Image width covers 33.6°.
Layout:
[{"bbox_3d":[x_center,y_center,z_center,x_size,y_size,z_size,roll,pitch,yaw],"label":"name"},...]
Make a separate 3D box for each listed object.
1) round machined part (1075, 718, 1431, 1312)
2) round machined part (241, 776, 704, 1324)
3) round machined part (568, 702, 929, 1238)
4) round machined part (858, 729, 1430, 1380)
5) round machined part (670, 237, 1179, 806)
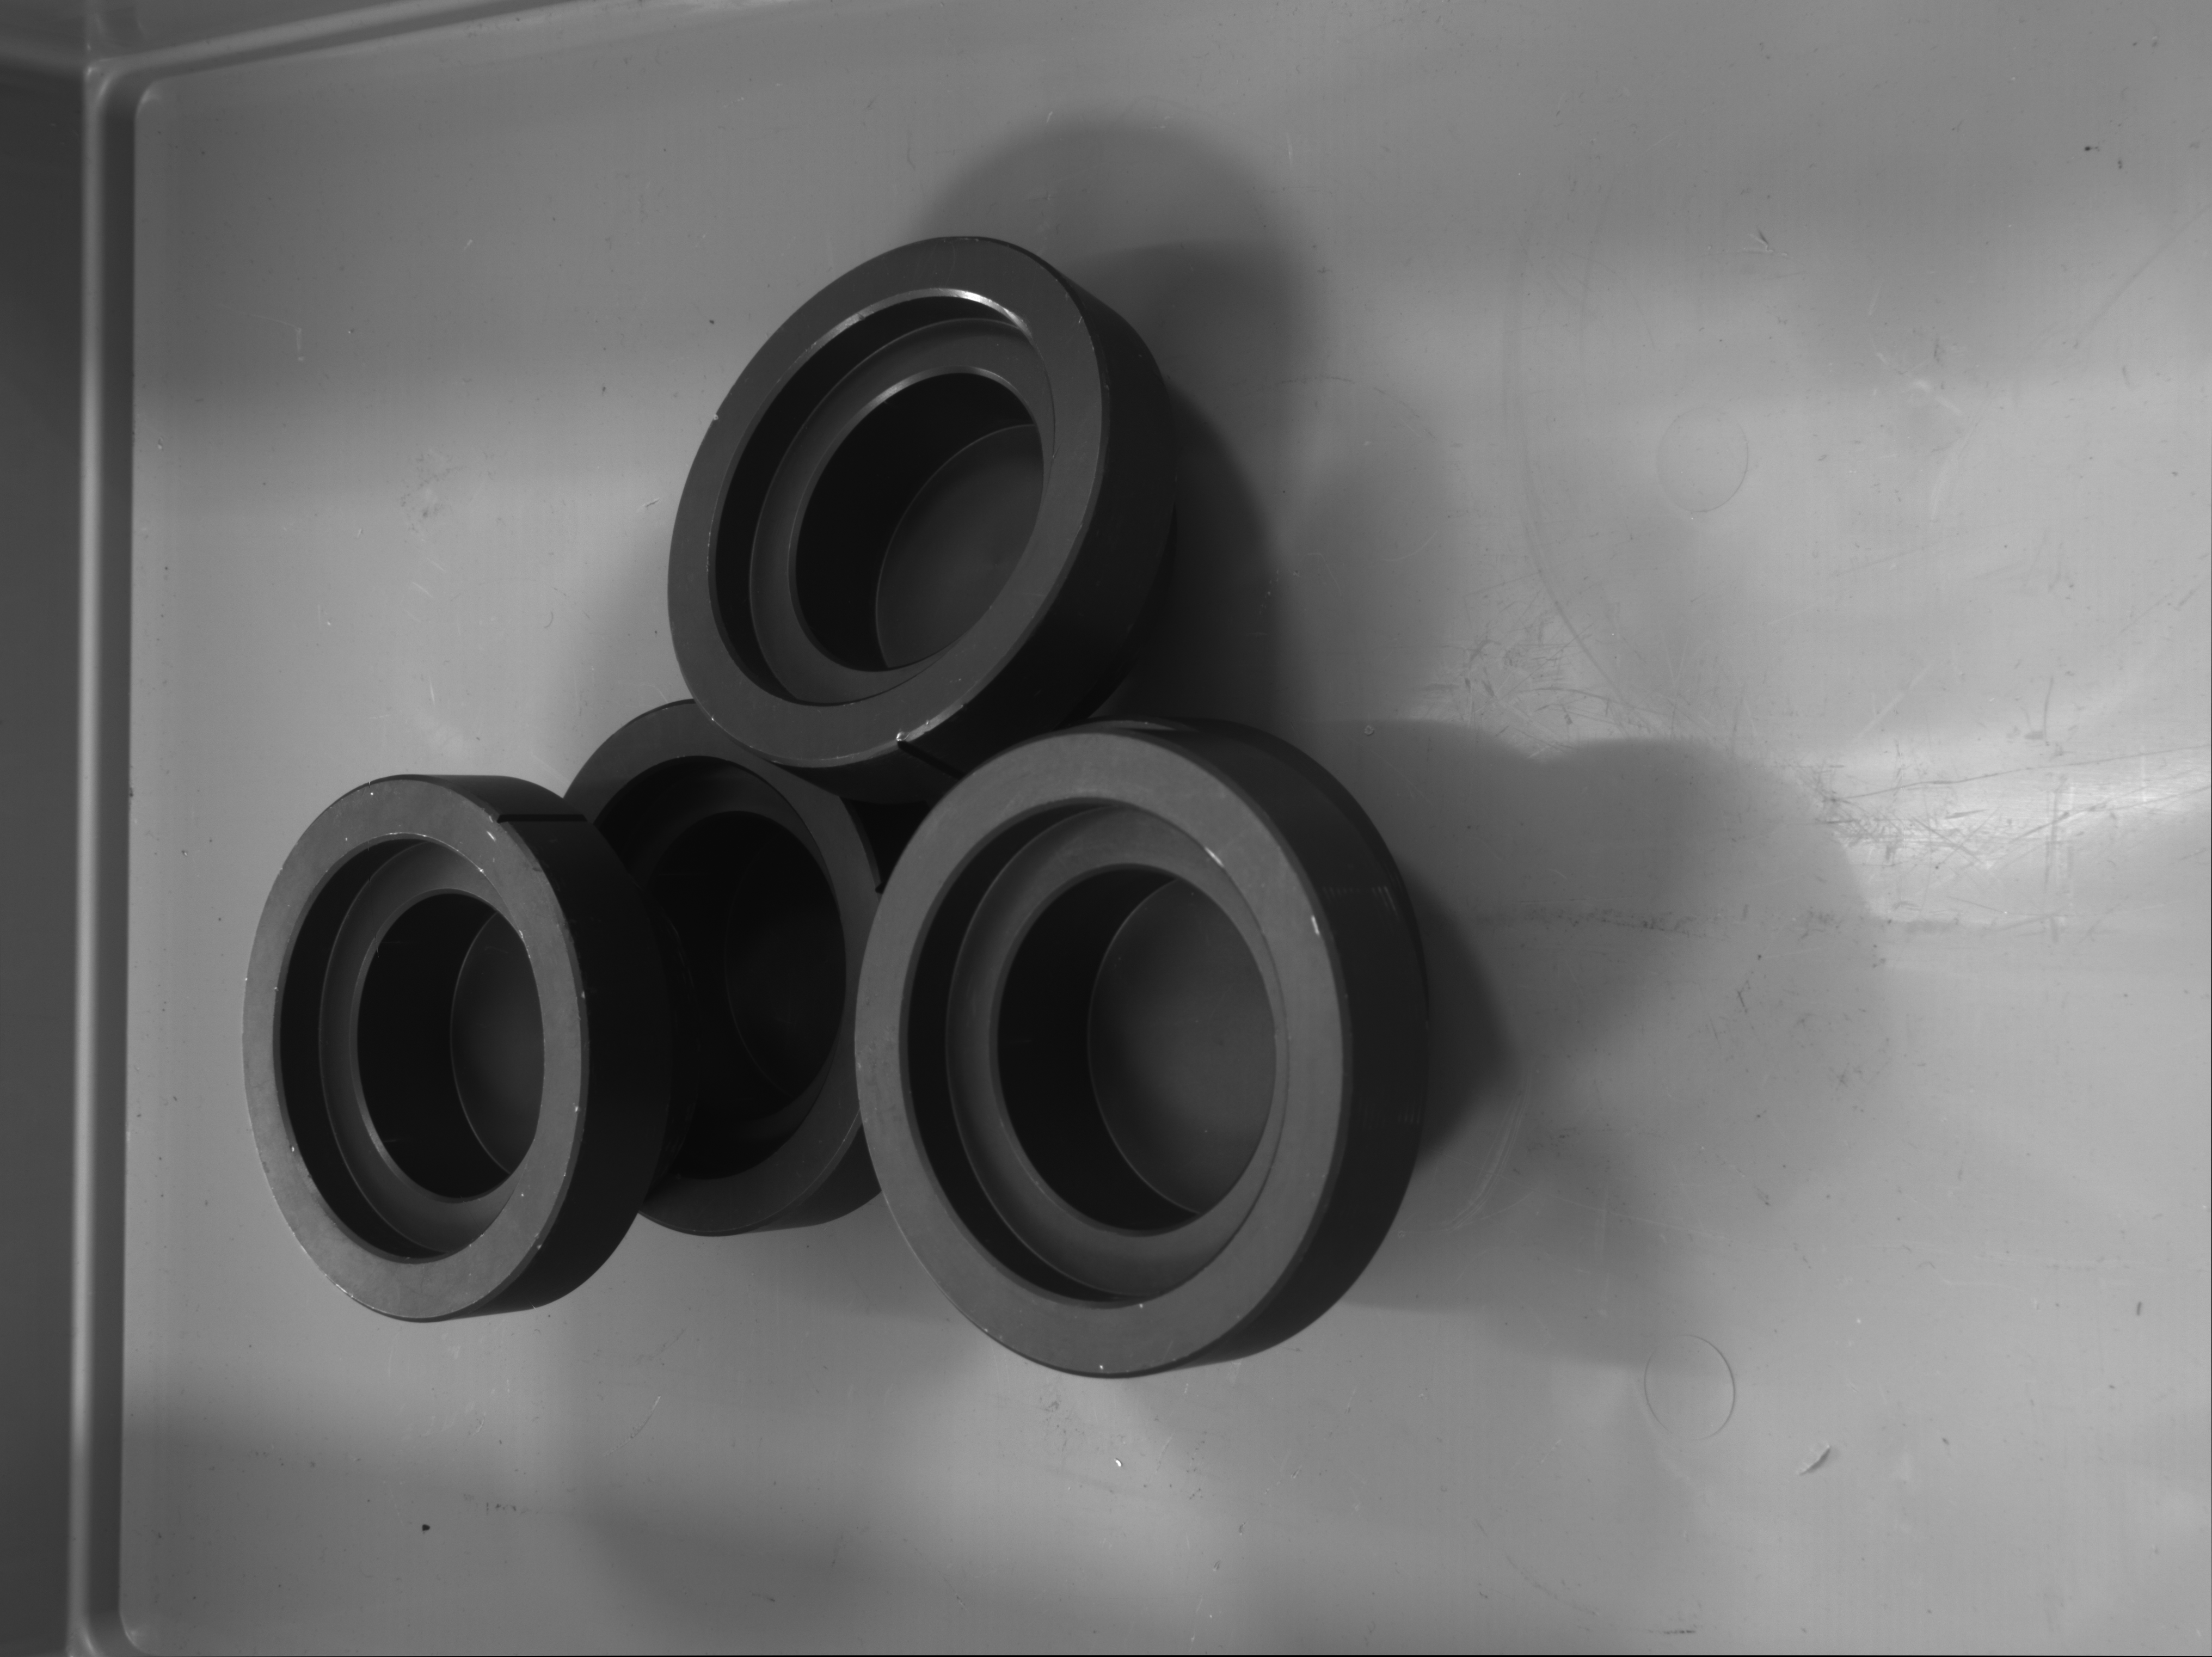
[{"bbox_3d":[0.016,0.031,0.620,0.098,0.042,0.098,0,90,40],"label":"round machined part"},{"bbox_3d":[-0.112,0.040,0.672,0.098,0.042,0.098,0,90,40],"label":"round machined part"},{"bbox_3d":[-0.061,0.026,0.684,0.098,0.042,0.098,0,90,40],"label":"round machined part"},{"bbox_3d":[0.011,0.034,0.569,0.098,0.042,0.098,0,90,40],"label":"round machined part"},{"bbox_3d":[-0.027,-0.050,0.642,0.098,0.042,0.098,-16,62,33],"label":"round machined part"}]
